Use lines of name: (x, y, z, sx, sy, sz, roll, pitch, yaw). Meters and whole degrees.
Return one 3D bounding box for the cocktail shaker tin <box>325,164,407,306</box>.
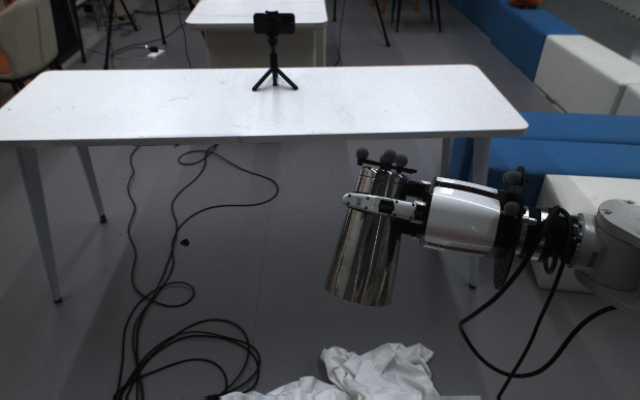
cocktail shaker tin: (0.070, 0.043, 0.652, 0.093, 0.170, 0.093, 12, 3, -1)
